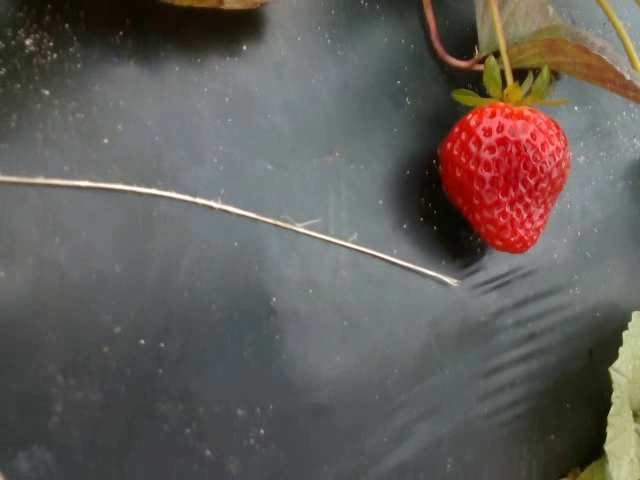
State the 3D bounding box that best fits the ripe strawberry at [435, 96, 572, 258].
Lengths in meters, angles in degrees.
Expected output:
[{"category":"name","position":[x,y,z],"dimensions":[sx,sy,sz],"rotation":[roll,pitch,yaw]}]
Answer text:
[{"category":"ripe strawberry","position":[0.036,-0.012,0.118],"dimensions":[0.028,0.033,0.022],"rotation":[13,-12,-24]}]
